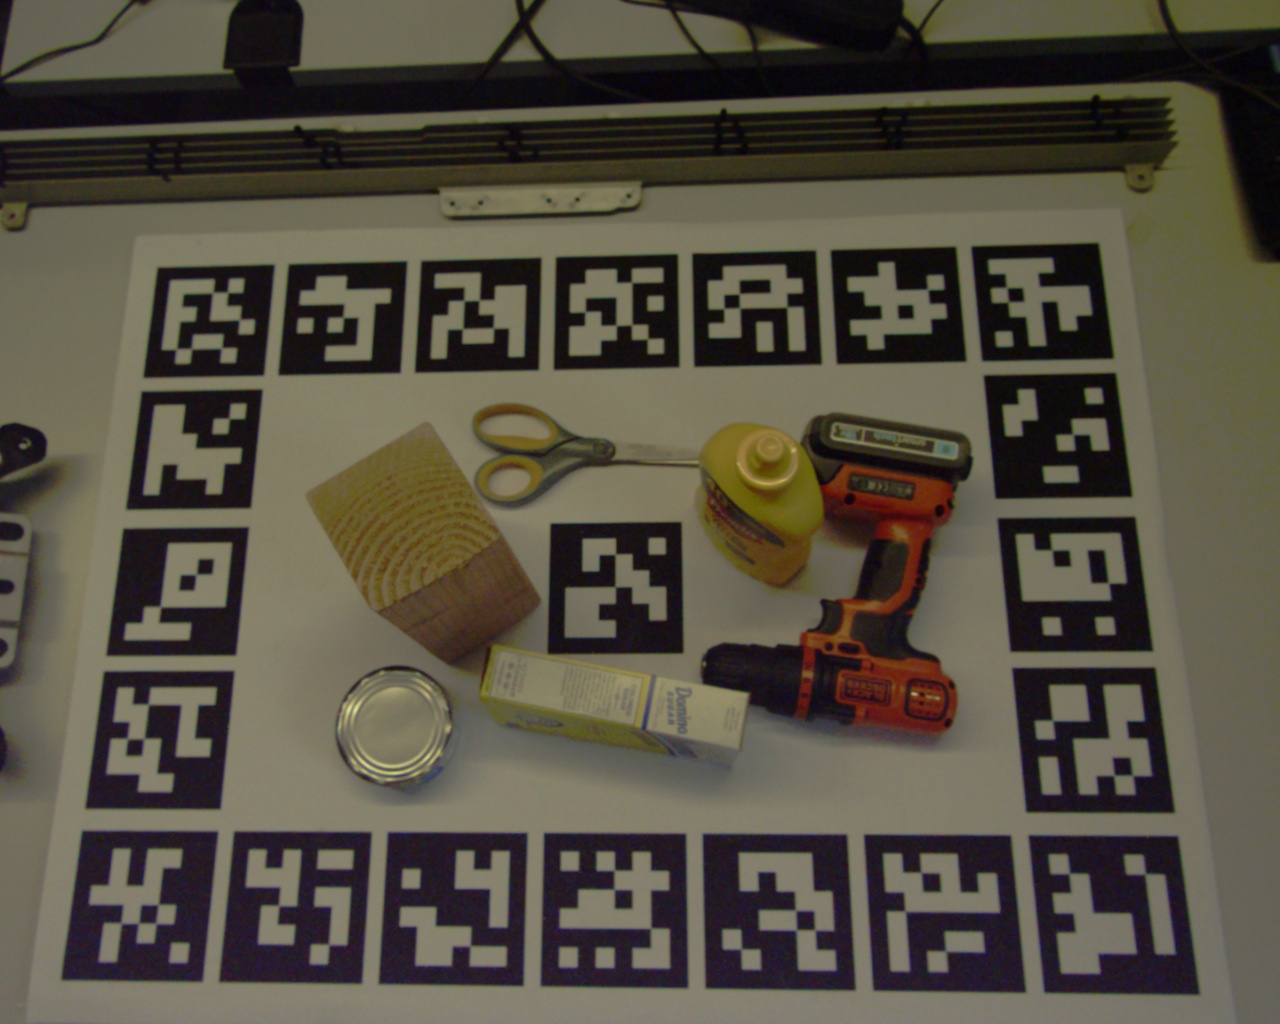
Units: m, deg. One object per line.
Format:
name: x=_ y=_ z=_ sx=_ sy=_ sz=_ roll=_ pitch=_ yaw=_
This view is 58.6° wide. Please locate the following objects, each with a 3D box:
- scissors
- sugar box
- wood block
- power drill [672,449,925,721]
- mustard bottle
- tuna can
scissors: x=-0.057 y=-0.048 z=0.911 sx=0.203 sy=0.016 sz=0.088 roll=1 pitch=71 yaw=4
sugar box: x=-0.013 y=0.135 z=0.821 sx=0.177 sy=0.092 sz=0.045 roll=11 pitch=73 yaw=4
wood block: x=-0.140 y=0.028 z=0.808 sx=0.091 sy=0.205 sz=0.090 roll=-29 pitch=77 yaw=-5
power drill: x=0.129 y=0.052 z=0.851 sx=0.185 sy=0.057 sz=0.187 roll=12 pitch=83 yaw=7
mustard bottle: x=0.079 y=-0.011 z=0.811 sx=0.058 sy=0.191 sz=0.097 roll=-41 pitch=78 yaw=-7
tuna can: x=-0.177 y=0.152 z=0.852 sx=0.086 sy=0.033 sz=0.086 roll=-1 pitch=76 yaw=2
